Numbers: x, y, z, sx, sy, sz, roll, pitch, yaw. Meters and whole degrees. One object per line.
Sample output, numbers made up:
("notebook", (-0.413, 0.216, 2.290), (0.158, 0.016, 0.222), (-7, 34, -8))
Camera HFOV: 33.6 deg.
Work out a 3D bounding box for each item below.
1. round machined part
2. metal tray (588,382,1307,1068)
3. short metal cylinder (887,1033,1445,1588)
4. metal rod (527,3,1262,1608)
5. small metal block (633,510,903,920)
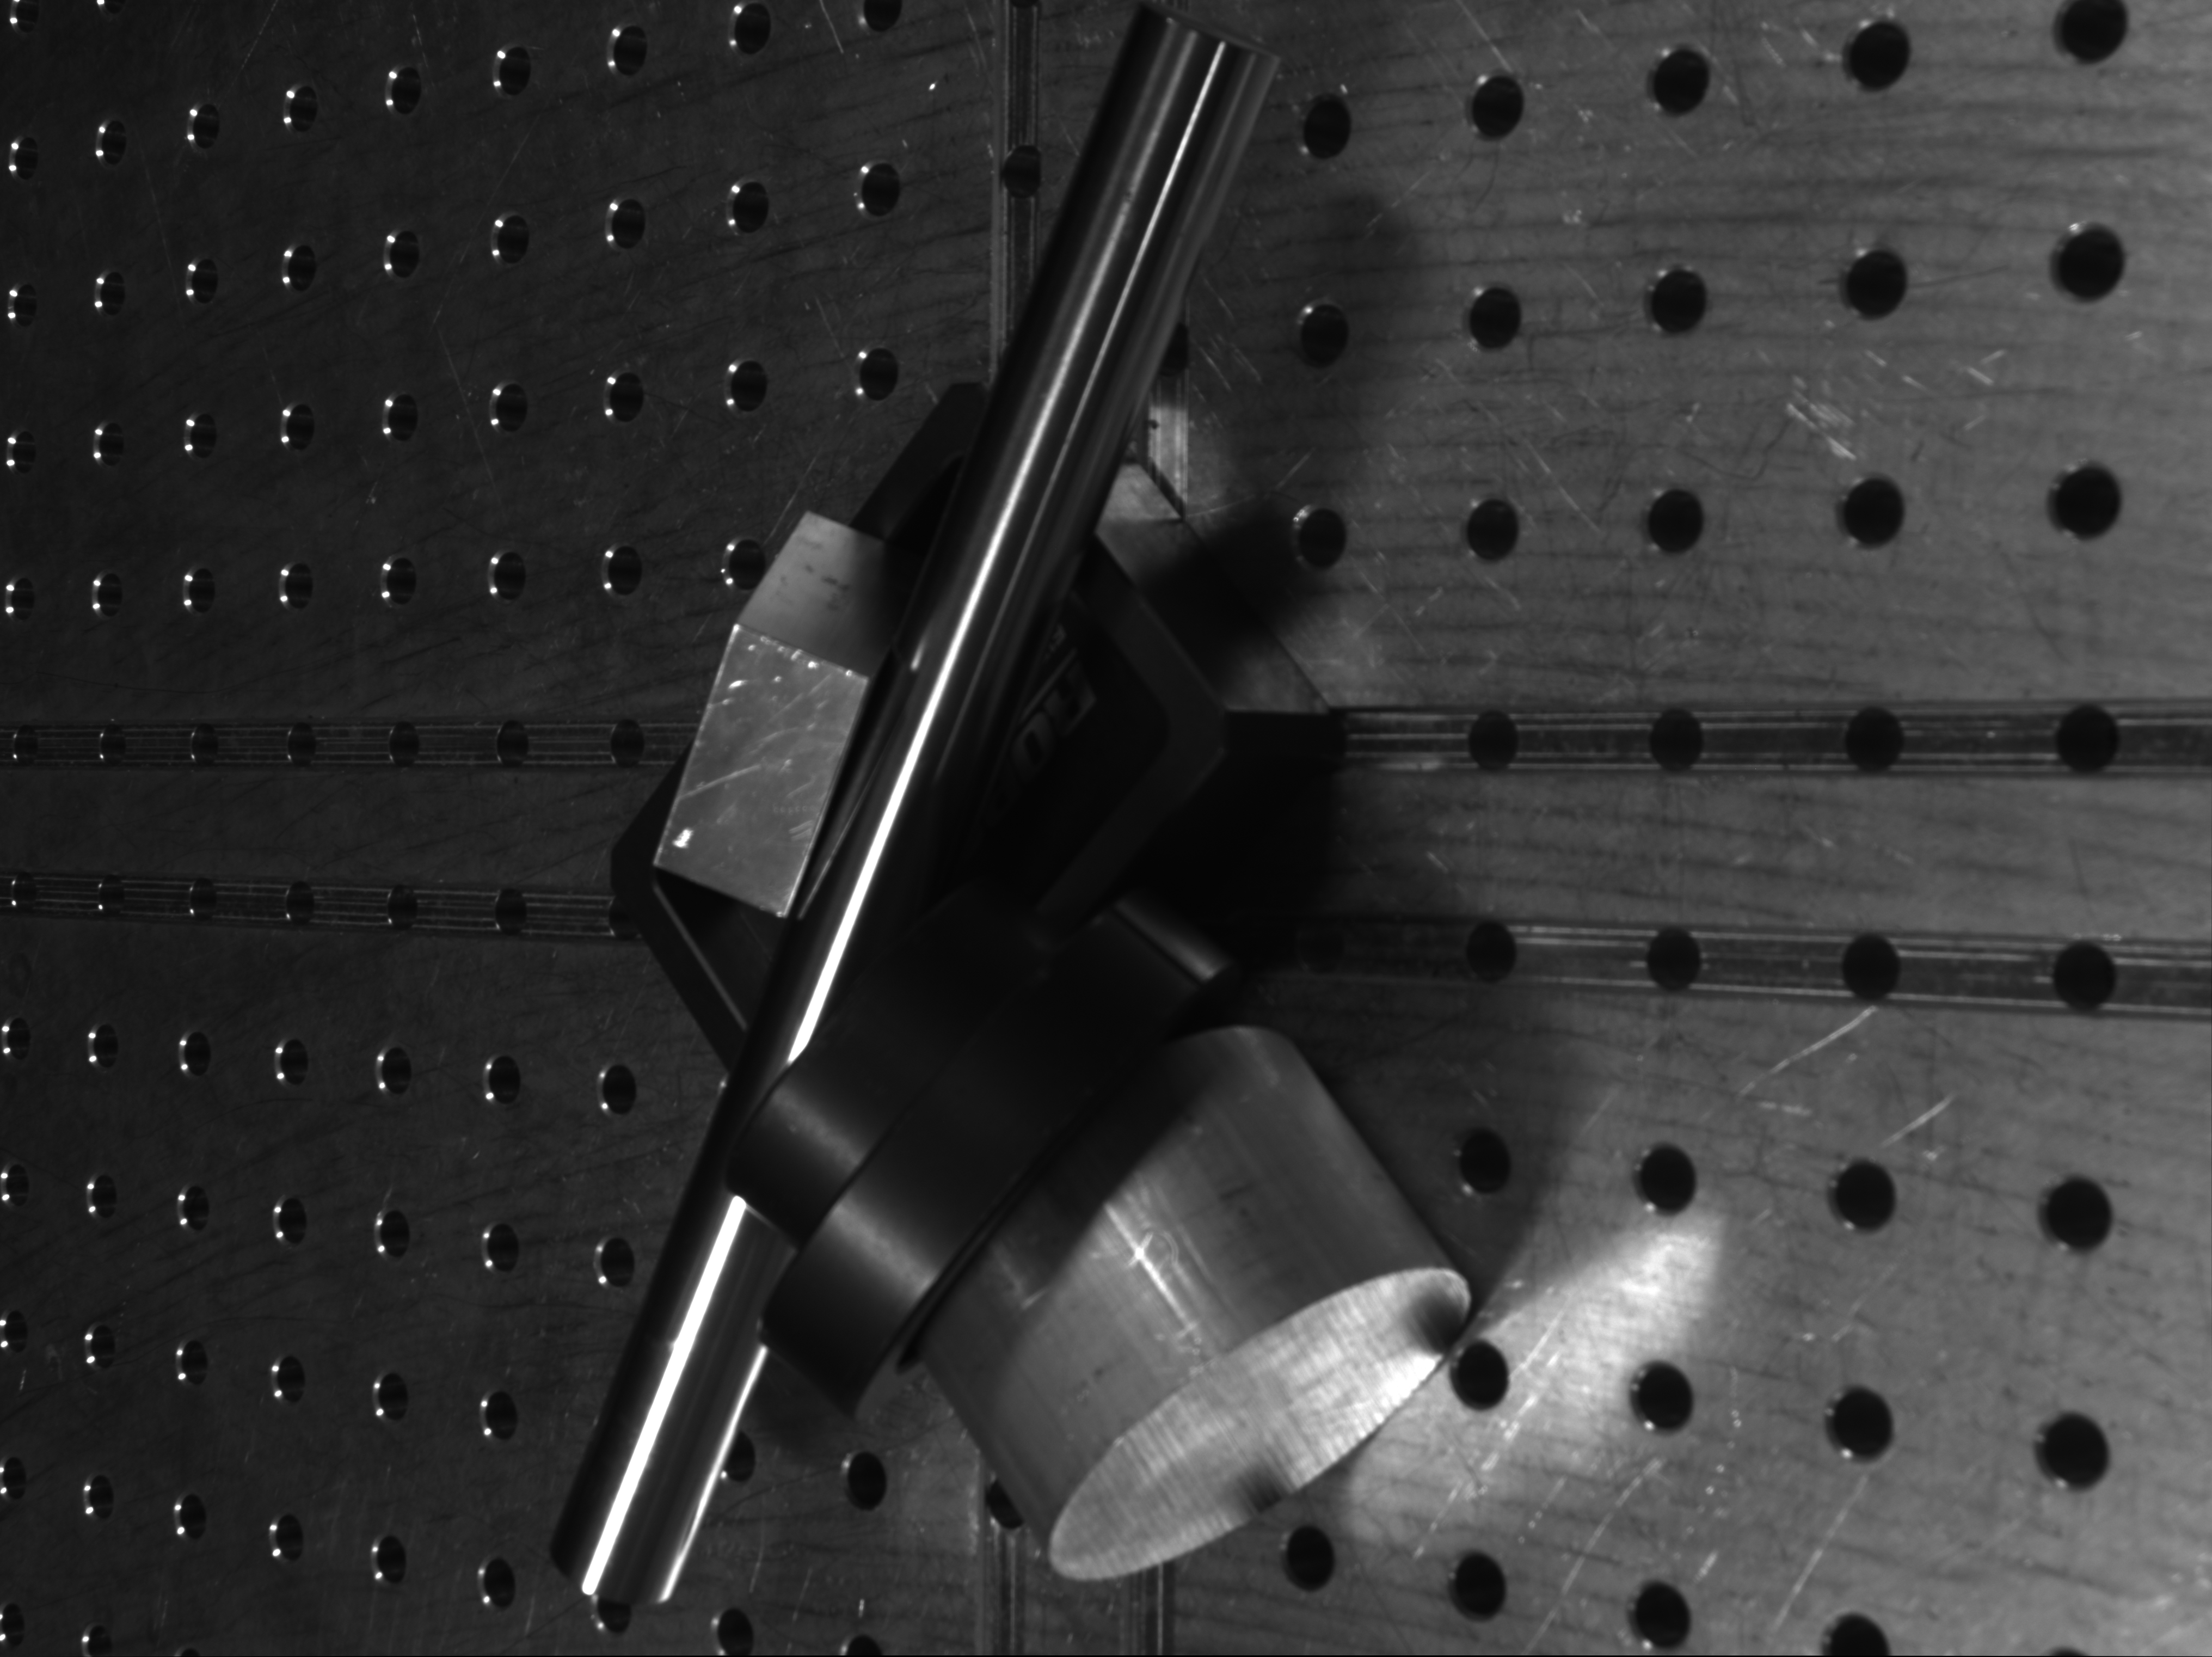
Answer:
("round machined part", (-0.029, 0.047, 0.602), (0.042, 0.098, 0.098), (40, 116, 8))
("metal tray", (-0.032, -0.004, 0.662), (0.130, 0.030, 0.090), (-51, 61, 27))
("short metal cylinder", (0.008, 0.079, 0.596), (0.080, 0.080, 0.050), (-51, 60, 27))
("metal rod", (-0.041, 0.004, 0.633), (0.025, 0.025, 0.300), (34, 111, 34))
("small metal block", (-0.057, -0.020, 0.642), (0.025, 0.050, 0.050), (22, 119, -1))
